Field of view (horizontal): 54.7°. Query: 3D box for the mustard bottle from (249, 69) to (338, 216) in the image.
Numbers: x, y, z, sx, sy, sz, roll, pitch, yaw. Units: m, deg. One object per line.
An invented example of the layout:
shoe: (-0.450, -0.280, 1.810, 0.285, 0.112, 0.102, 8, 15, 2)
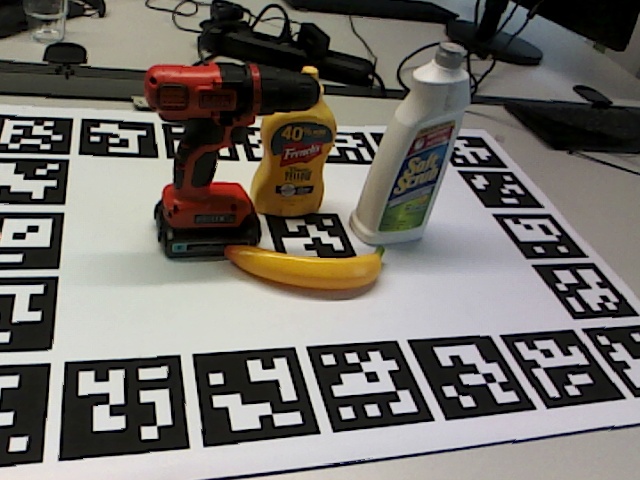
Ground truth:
mustard bottle: (-0.028, -0.120, 0.771, 0.096, 0.191, 0.059, 1, 39, -19)

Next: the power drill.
power drill: (-0.106, -0.095, 0.683, 0.183, 0.187, 0.058, 0, 33, -23)

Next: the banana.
banana: (-0.003, 0.028, 0.712, 0.197, 0.039, 0.074, 0, 44, -15)

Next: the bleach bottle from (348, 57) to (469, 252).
bleach bottle: (0.113, -0.100, 0.755, 0.102, 0.250, 0.068, -6, 43, -25)
